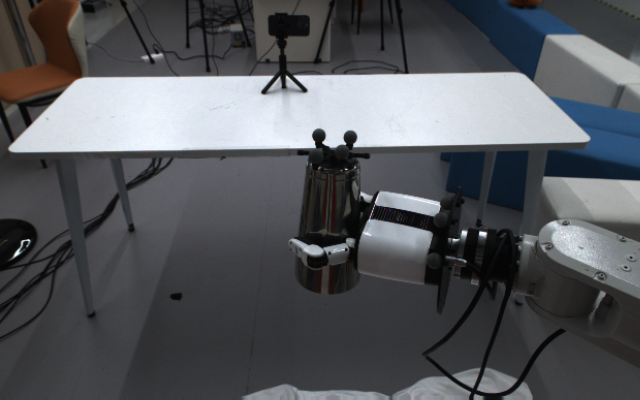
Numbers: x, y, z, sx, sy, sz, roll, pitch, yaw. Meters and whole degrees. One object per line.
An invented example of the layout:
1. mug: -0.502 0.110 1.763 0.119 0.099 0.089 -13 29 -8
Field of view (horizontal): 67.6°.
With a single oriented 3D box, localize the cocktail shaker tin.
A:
1. cocktail shaker tin: 0.016 0.026 0.633 0.093 0.170 0.093 2 28 -1
